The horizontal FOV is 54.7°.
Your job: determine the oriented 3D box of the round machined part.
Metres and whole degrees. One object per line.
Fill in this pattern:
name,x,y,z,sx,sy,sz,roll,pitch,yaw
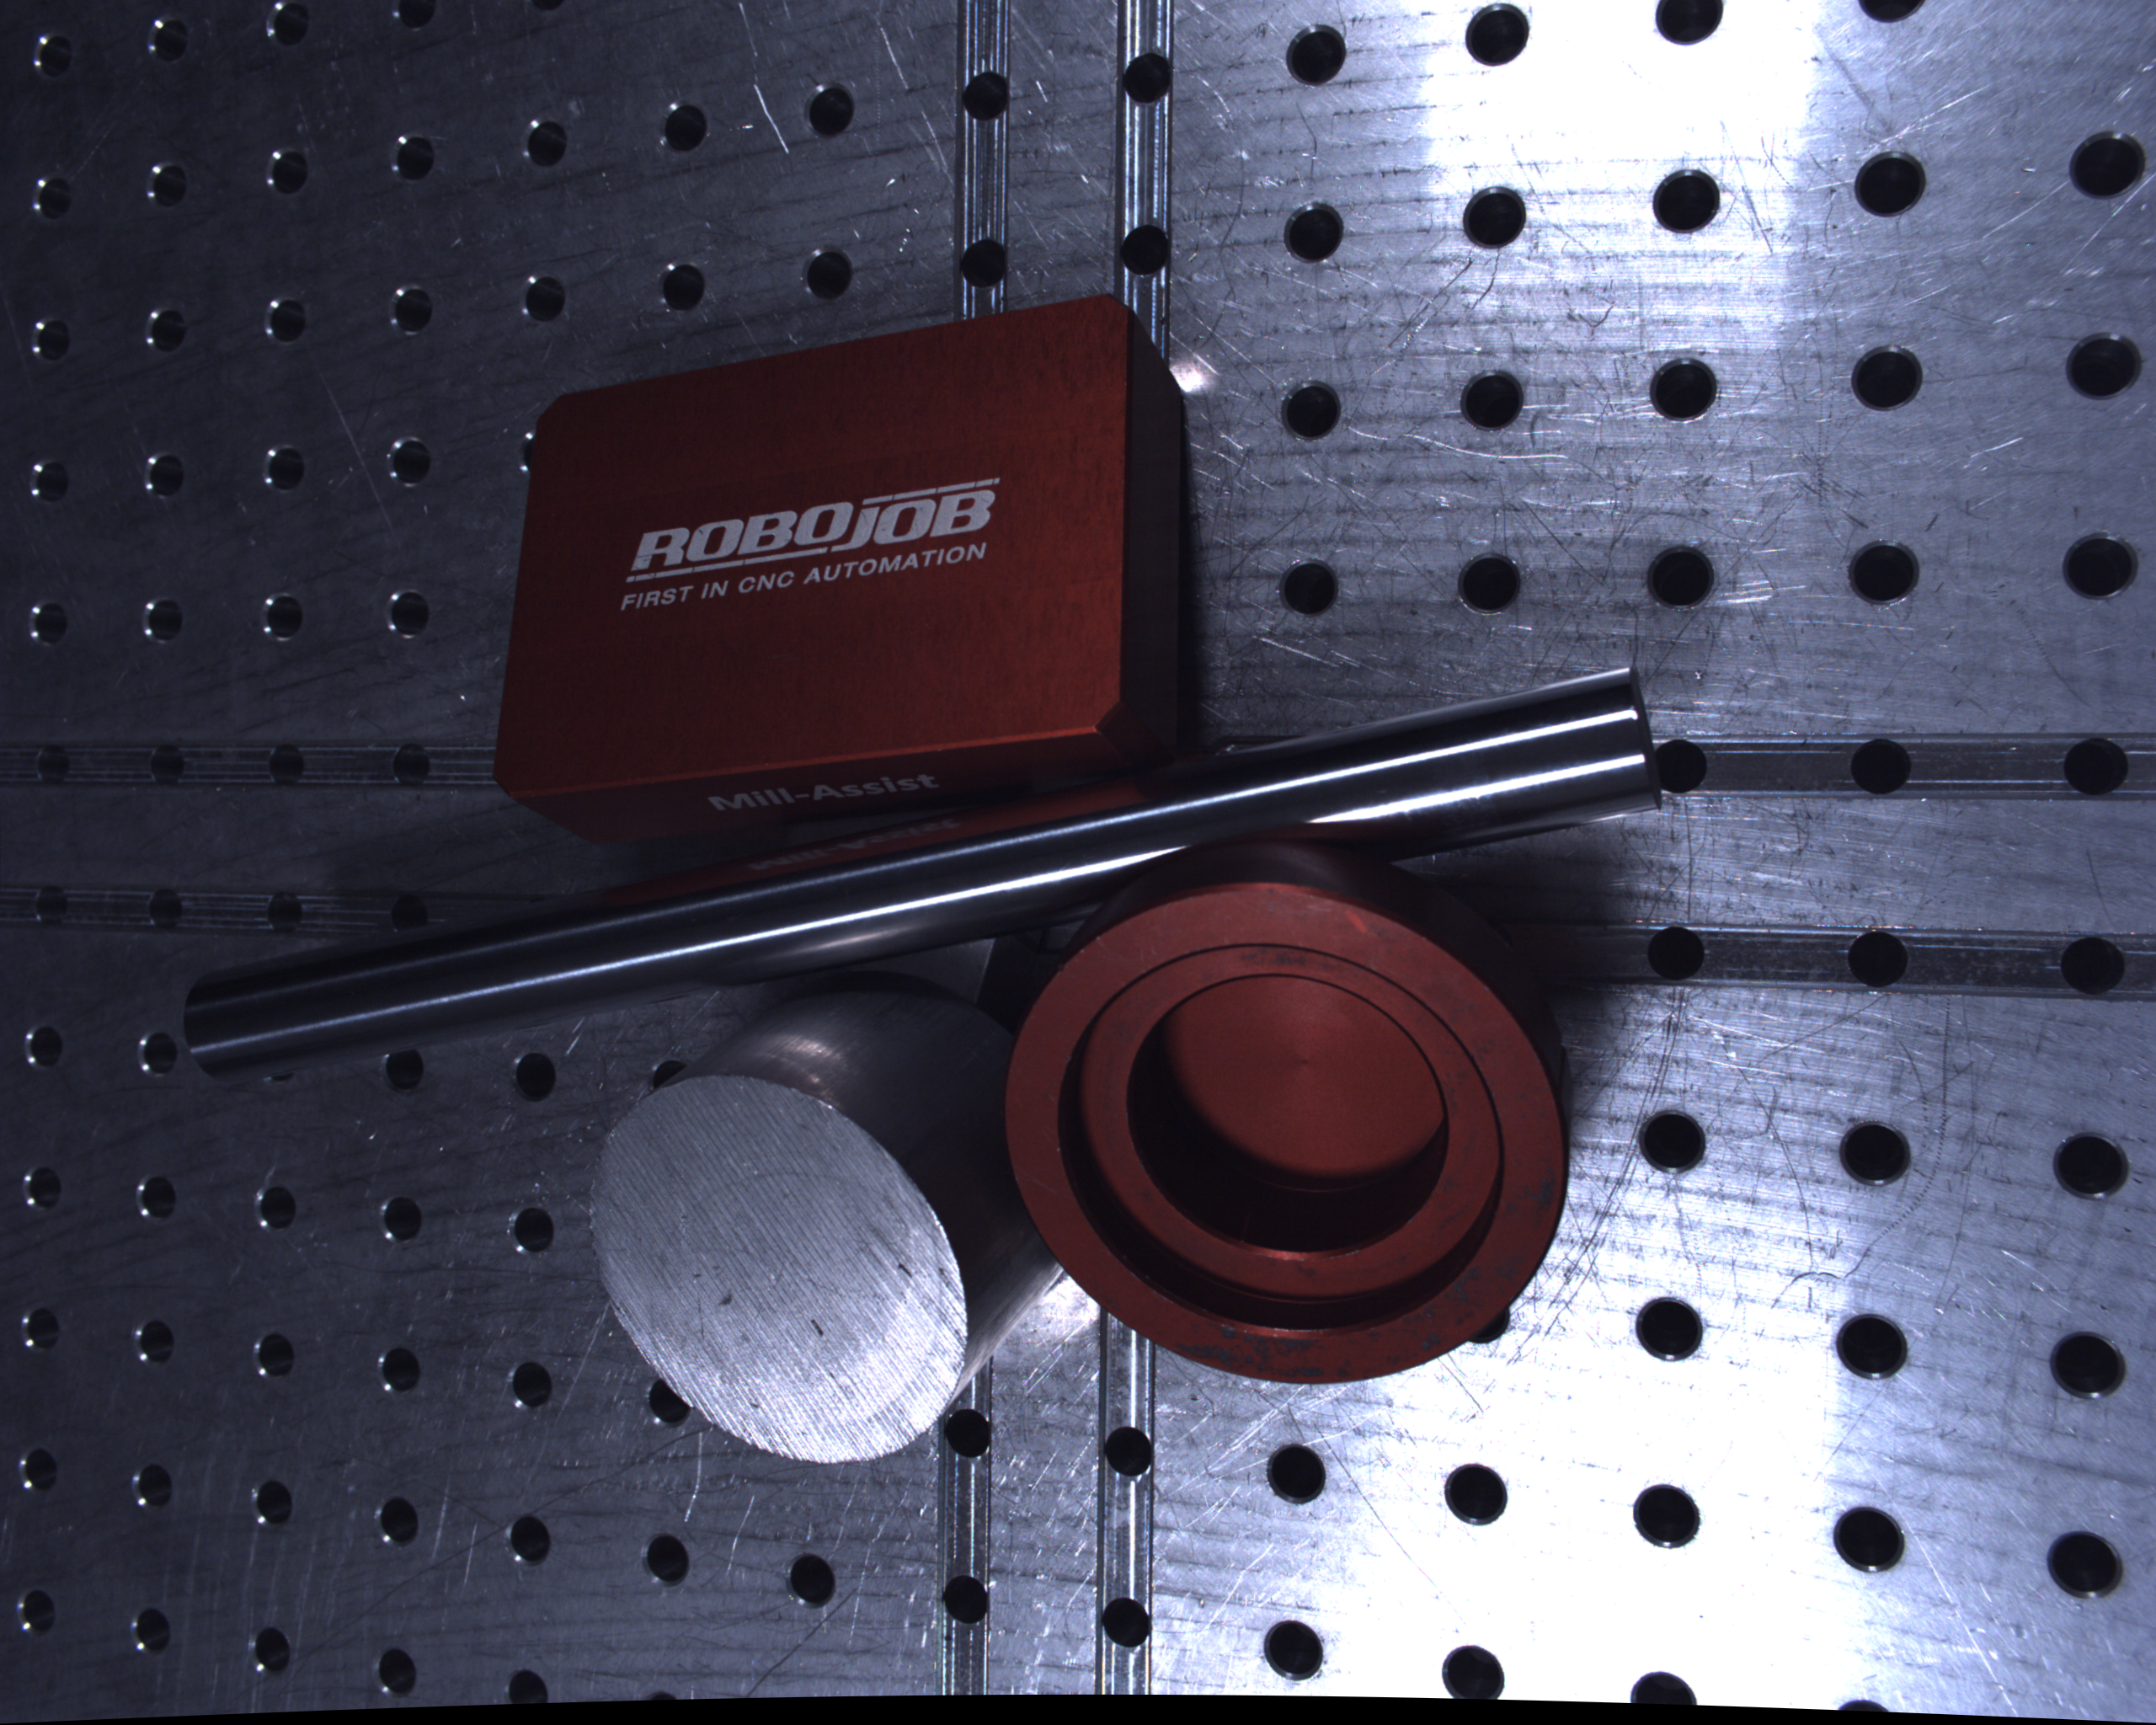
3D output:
round machined part,0.039,0.041,0.377,0.098,0.042,0.097,5,113,13

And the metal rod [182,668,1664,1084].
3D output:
metal rod,-0.044,0.007,0.400,0.301,0.025,0.025,-11,86,19

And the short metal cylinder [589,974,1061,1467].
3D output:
short metal cylinder,-0.045,0.068,0.402,0.080,0.050,0.079,9,112,22

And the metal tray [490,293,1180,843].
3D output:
metal tray,-0.047,-0.056,0.411,0.130,0.030,0.090,-5,70,19

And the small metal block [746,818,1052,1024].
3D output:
small metal block,-0.035,0.015,0.433,0.050,0.025,0.050,19,96,18
